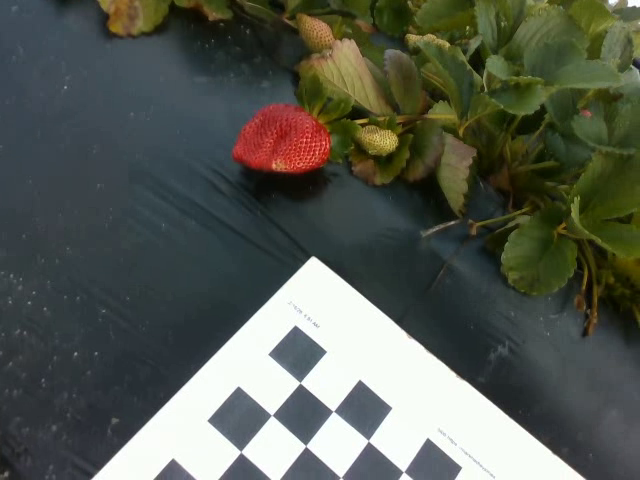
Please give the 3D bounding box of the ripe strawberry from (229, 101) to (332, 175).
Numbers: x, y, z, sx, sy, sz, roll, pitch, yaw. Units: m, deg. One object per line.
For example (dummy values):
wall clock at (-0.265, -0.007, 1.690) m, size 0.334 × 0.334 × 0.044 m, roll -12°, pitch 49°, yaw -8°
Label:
ripe strawberry at (-0.028, -0.070, 0.417) m, size 0.074 × 0.067 × 0.039 m, roll -40°, pitch -18°, yaw -29°
